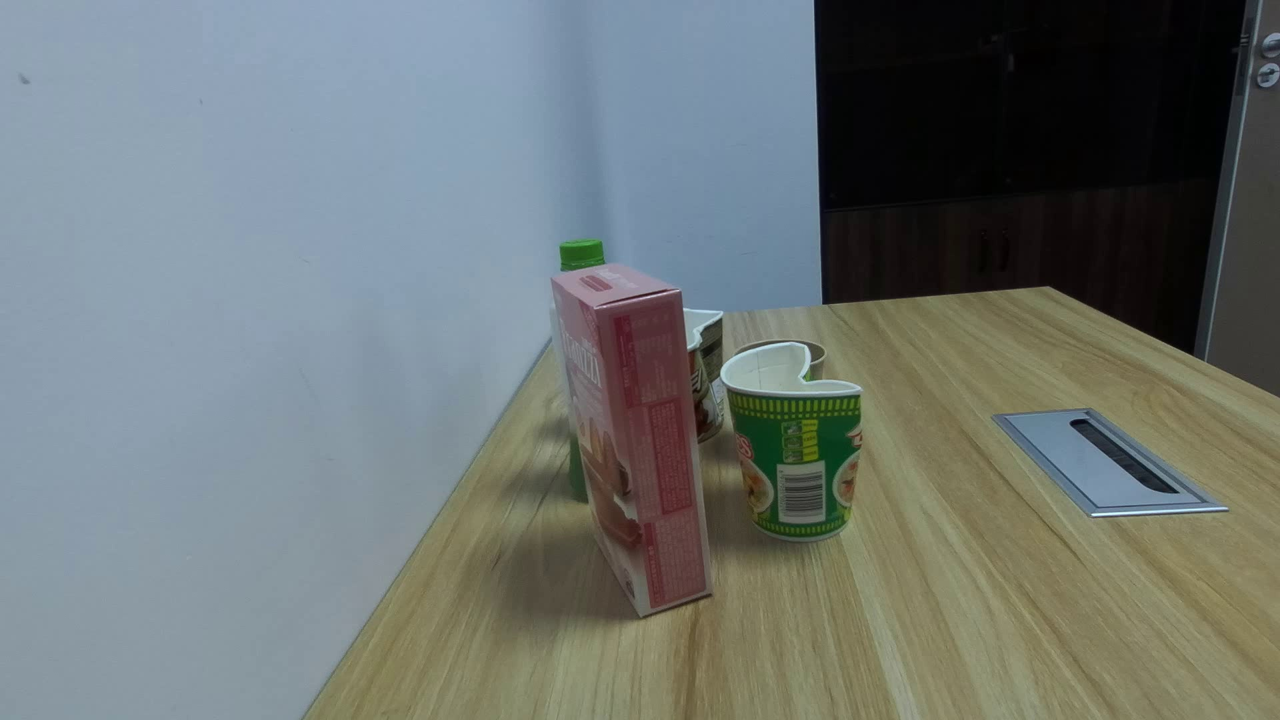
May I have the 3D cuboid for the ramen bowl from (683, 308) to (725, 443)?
[{"bbox_3d":[0.006,0.010,0.638,0.133,0.097,0.113,4,22,12],"label":"ramen bowl"}]

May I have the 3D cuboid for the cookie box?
[{"bbox_3d":[-0.004,0.044,0.415,0.048,0.185,0.096,-13,20,-16],"label":"cookie box"}]

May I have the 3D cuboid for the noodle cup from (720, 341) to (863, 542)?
[{"bbox_3d":[0.100,0.054,0.466,0.087,0.109,0.094,-2,21,13],"label":"noodle cup"}]

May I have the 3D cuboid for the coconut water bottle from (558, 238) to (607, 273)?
[{"bbox_3d":[-0.033,-0.015,0.565,0.063,0.189,0.063,-3,45,3],"label":"coconut water bottle"}]
